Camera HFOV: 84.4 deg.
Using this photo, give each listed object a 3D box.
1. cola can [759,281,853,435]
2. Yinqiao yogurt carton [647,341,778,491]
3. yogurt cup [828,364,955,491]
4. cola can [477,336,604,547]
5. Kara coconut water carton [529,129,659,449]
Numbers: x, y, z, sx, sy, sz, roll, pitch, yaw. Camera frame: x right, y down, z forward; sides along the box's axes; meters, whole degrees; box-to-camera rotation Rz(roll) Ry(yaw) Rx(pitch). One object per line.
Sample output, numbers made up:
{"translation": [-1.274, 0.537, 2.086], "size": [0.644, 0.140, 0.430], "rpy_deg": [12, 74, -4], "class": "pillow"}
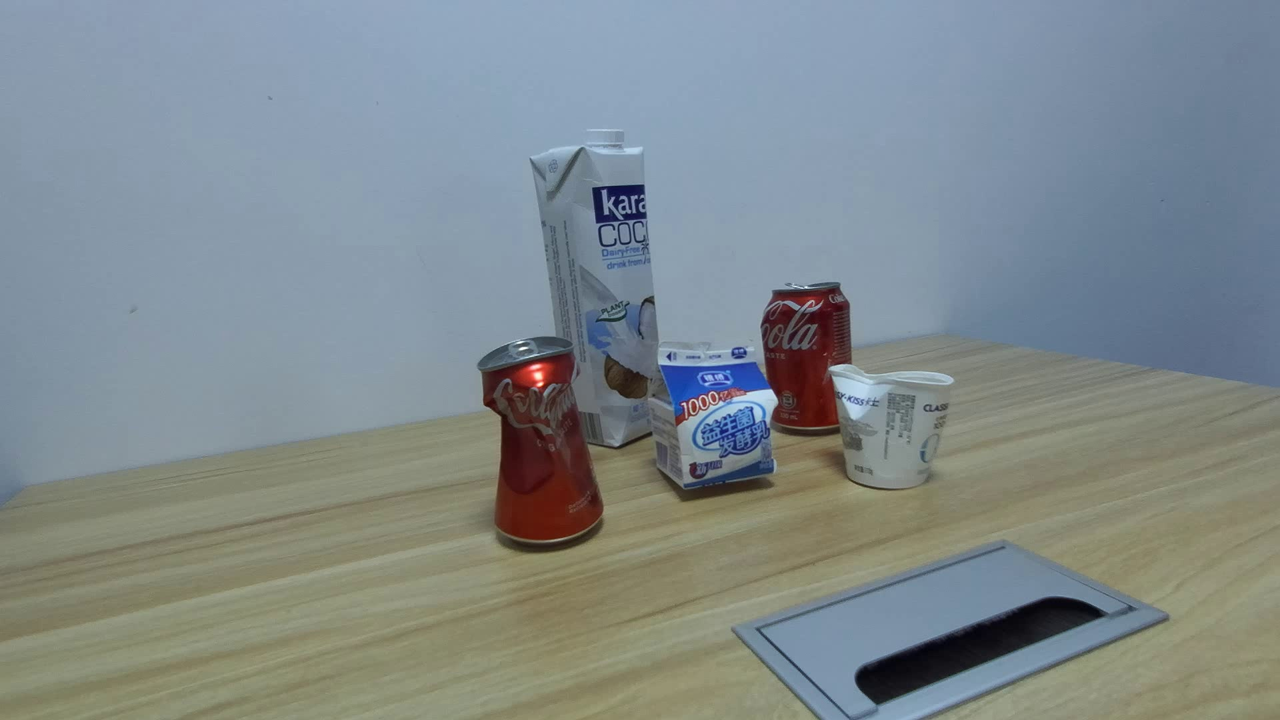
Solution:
{"translation": [0.135, -0.003, 0.569], "size": [0.072, 0.117, 0.065], "rpy_deg": [-9, 14, -23], "class": "cola can"}
{"translation": [0.051, 0.033, 0.474], "size": [0.074, 0.097, 0.080], "rpy_deg": [-7, 5, -12], "class": "Yinqiao yogurt carton"}
{"translation": [0.160, 0.040, 0.456], "size": [0.075, 0.071, 0.054], "rpy_deg": [1, 14, 22], "class": "yogurt cup"}
{"translation": [-0.057, 0.046, 0.412], "size": [0.065, 0.112, 0.069], "rpy_deg": [-1, 12, 19], "class": "cola can"}
{"translation": [-0.030, -0.057, 0.572], "size": [0.075, 0.245, 0.077], "rpy_deg": [3, 14, 43], "class": "Kara coconut water carton"}
